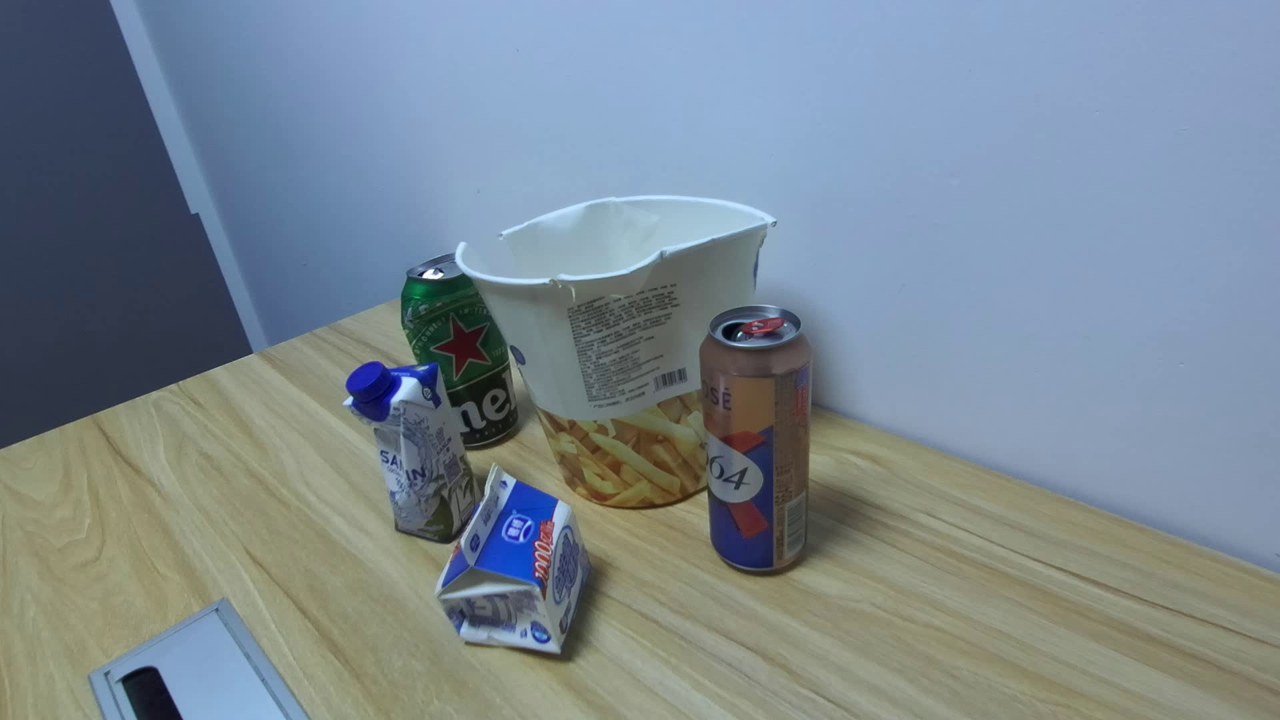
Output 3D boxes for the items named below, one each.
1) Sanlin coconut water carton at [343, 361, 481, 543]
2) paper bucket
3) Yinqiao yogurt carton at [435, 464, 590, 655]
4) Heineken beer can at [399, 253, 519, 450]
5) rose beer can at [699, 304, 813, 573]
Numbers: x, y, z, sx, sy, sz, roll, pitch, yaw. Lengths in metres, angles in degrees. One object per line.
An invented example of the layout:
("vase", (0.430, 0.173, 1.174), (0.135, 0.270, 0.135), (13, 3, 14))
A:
("Sanlin coconut water carton", (-0.164, 0.059, 0.514), (0.060, 0.144, 0.070), (7, 32, 25))
("paper bucket", (-0.009, -0.009, 0.545), (0.203, 0.197, 0.145), (-23, 32, -28))
("Yinqiao yogurt carton", (-0.085, 0.121, 0.433), (0.080, 0.097, 0.074), (-8, 28, 14))
("Heineken beer can", (-0.149, -0.006, 0.613), (0.078, 0.164, 0.066), (-13, 26, -5))
("rose beer can", (0.075, 0.054, 0.448), (0.068, 0.169, 0.068), (-4, 29, 3))
